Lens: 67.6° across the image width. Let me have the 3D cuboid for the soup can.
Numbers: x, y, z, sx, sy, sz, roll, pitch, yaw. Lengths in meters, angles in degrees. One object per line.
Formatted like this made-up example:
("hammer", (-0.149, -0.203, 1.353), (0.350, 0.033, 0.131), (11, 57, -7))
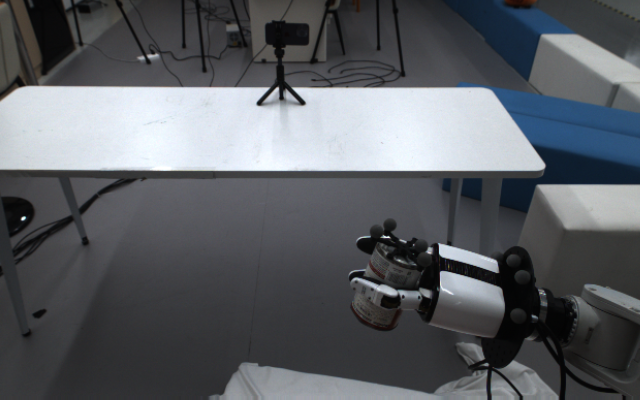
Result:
("soup can", (0.090, 0.110, 0.633), (0.067, 0.101, 0.067), (17, 21, -7))
